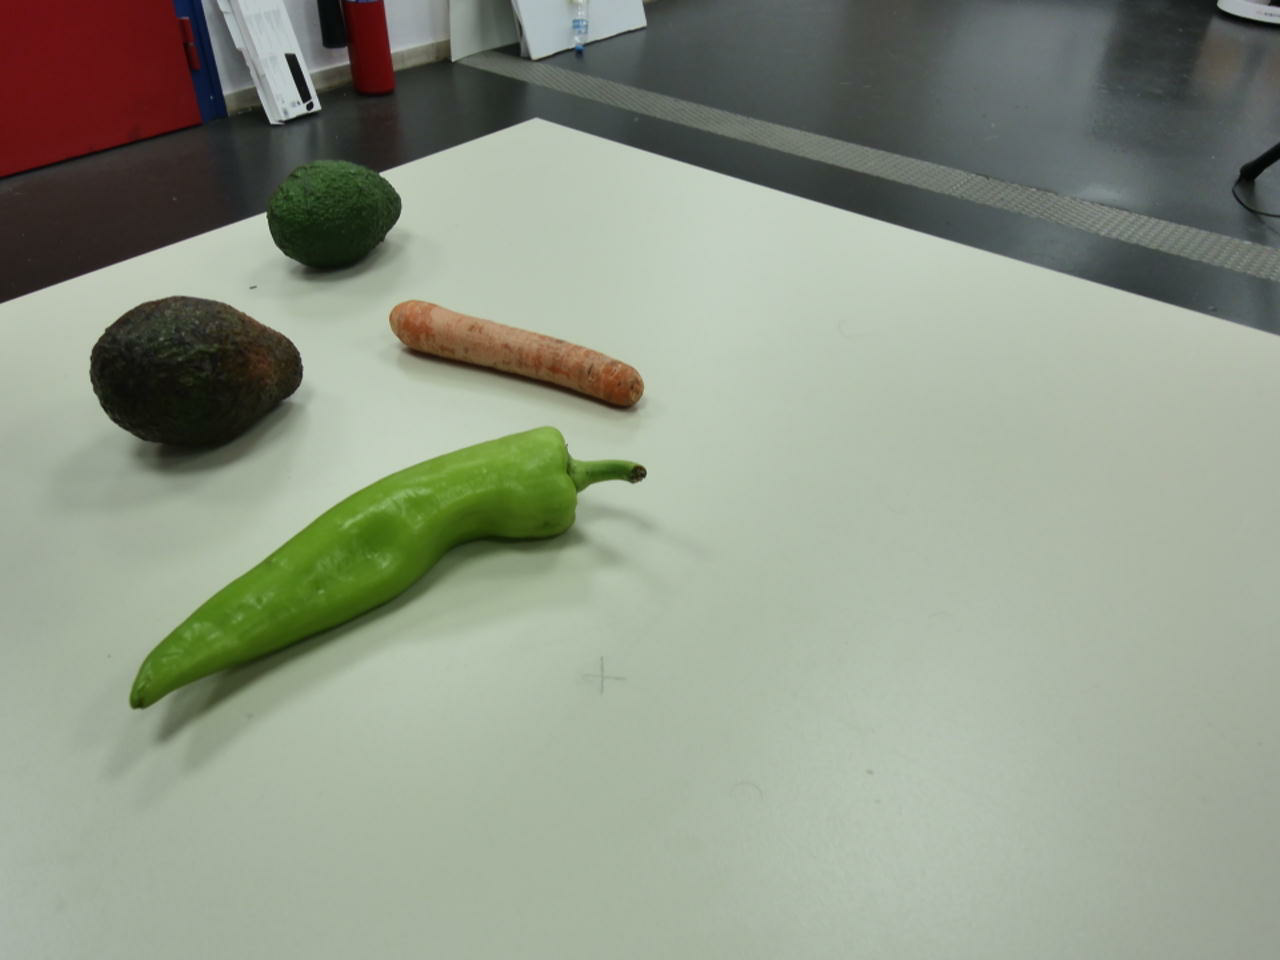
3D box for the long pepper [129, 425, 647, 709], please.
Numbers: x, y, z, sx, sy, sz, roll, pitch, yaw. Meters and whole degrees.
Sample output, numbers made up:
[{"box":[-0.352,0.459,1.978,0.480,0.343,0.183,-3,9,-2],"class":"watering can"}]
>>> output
[{"box":[-0.096,0.024,0.387,0.204,0.045,0.065,-22,42,-29],"class":"long pepper"}]
